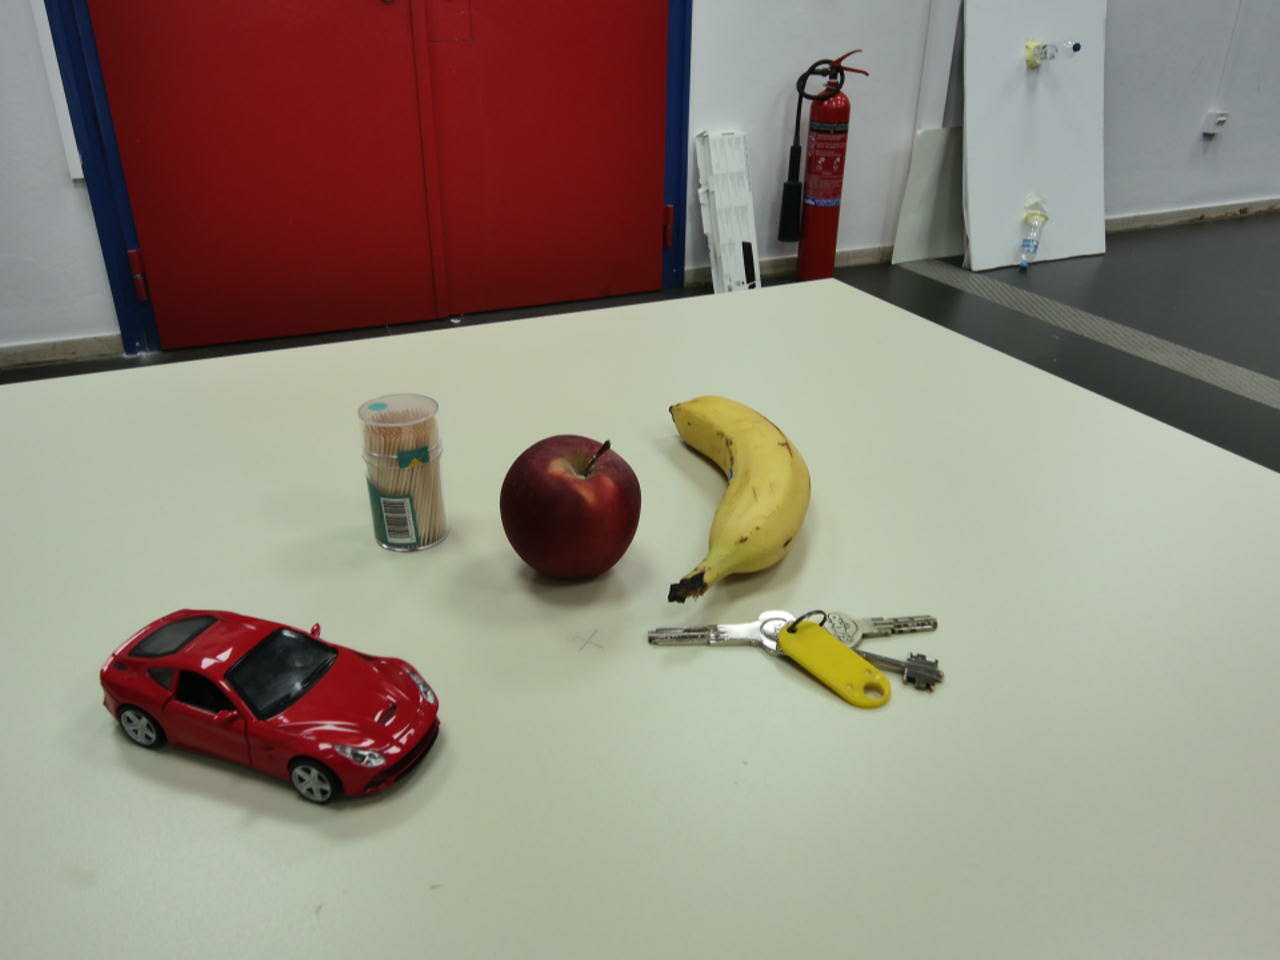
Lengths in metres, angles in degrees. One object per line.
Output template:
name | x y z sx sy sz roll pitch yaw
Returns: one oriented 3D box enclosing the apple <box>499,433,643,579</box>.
apple | -0.034 0.013 0.490 0.070 0.072 0.070 0 26 0
